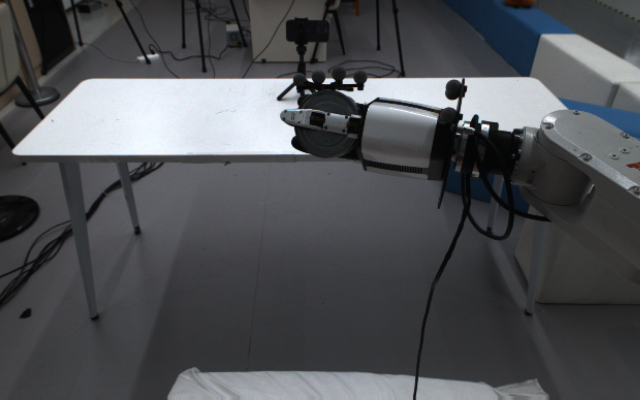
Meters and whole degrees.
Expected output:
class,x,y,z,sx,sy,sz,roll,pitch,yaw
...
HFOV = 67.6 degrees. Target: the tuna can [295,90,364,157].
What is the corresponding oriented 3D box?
class,x,y,z,sx,sy,sz,roll,pitch,yaw
tuna can,0.013,-0.097,0.624,0.085,0.085,0.034,12,8,14
